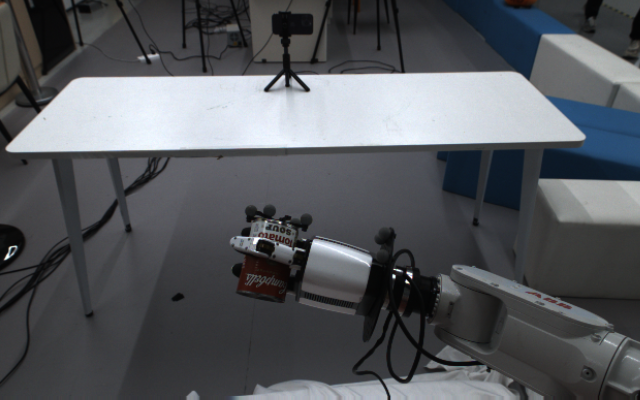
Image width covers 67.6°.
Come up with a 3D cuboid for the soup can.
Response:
[{"bbox_3d":[-0.070,0.084,0.658,0.067,0.067,0.101,8,72,9],"label":"soup can"}]
